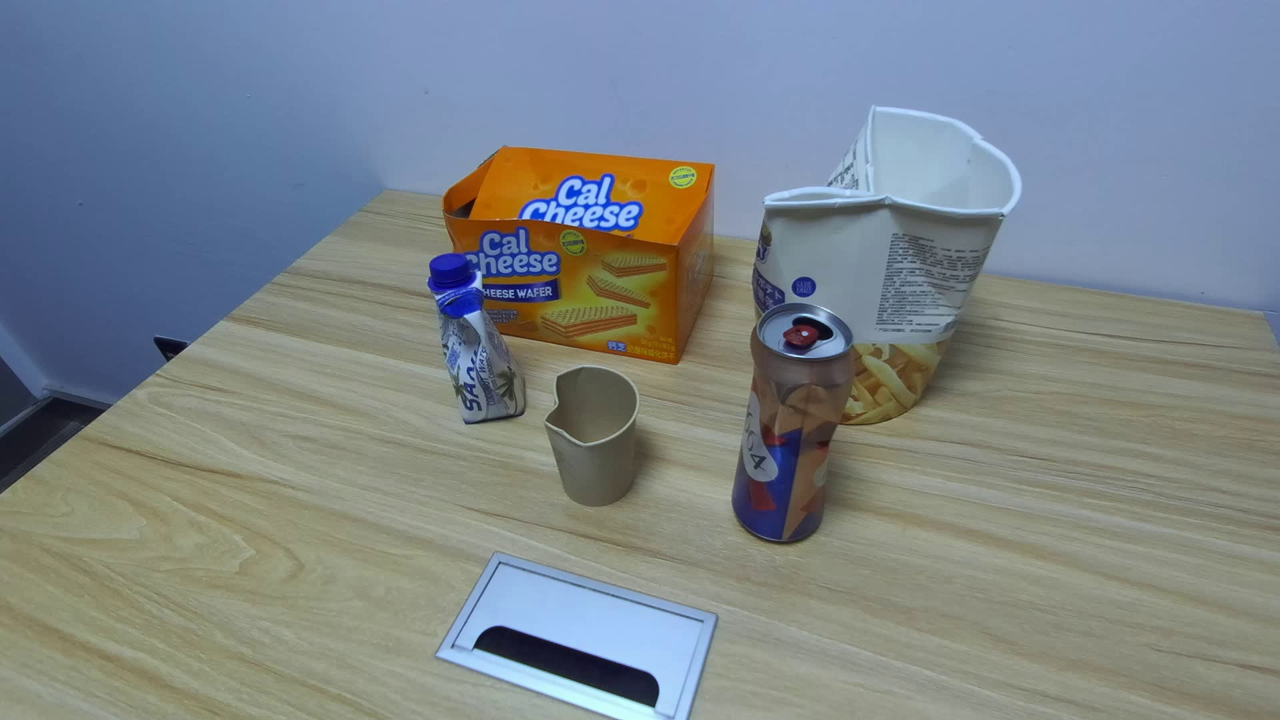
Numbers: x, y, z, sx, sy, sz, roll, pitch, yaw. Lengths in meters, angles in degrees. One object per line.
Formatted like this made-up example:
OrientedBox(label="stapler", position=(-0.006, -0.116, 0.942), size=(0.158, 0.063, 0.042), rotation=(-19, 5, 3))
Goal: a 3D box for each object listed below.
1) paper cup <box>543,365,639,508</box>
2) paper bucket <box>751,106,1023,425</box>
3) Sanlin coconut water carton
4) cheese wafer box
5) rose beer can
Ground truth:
OrientedBox(label="paper cup", position=(-0.033, 0.059, 0.512), size=(0.073, 0.081, 0.069), rotation=(26, 49, 29))
OrientedBox(label="paper bucket", position=(0.177, -0.074, 0.566), size=(0.169, 0.202, 0.162), rotation=(6, 40, 7))
OrientedBox(label="Sanlin coconut water carton", position=(-0.136, -0.011, 0.559), size=(0.057, 0.145, 0.068), rotation=(-15, 48, -2))
OrientedBox(label="cheese wafer box", position=(-0.054, -0.103, 0.666), size=(0.230, 0.132, 0.152), rotation=(10, 44, 15))
OrientedBox(label="rose beer can", position=(0.098, 0.046, 0.455), size=(0.065, 0.167, 0.076), rotation=(6, 38, 7))
